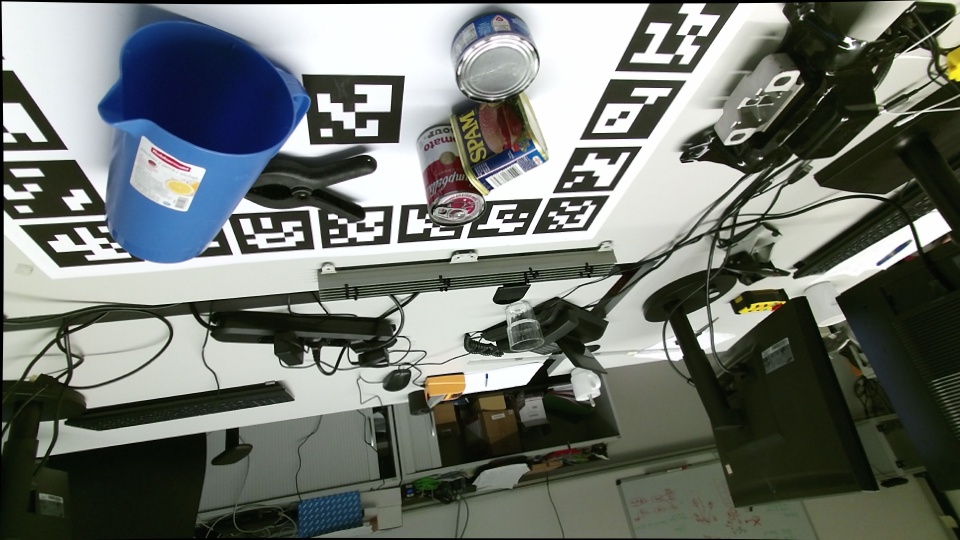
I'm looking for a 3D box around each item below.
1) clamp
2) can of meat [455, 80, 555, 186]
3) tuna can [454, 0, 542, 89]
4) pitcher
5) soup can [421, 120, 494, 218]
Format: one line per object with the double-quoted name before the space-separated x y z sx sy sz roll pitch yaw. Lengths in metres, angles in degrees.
"clamp" -0.200 -0.113 0.678 0.166 0.036 0.122 -1 153 -15
"can of meat" 0.029 -0.159 0.602 0.084 0.101 0.058 -27 148 15
"tuna can" 0.017 -0.230 0.546 0.086 0.033 0.086 -11 149 -6
"pitcher" -0.277 -0.109 0.527 0.189 0.133 0.243 -18 168 -43
"soup can" -0.029 -0.123 0.650 0.068 0.101 0.068 -13 150 -8
